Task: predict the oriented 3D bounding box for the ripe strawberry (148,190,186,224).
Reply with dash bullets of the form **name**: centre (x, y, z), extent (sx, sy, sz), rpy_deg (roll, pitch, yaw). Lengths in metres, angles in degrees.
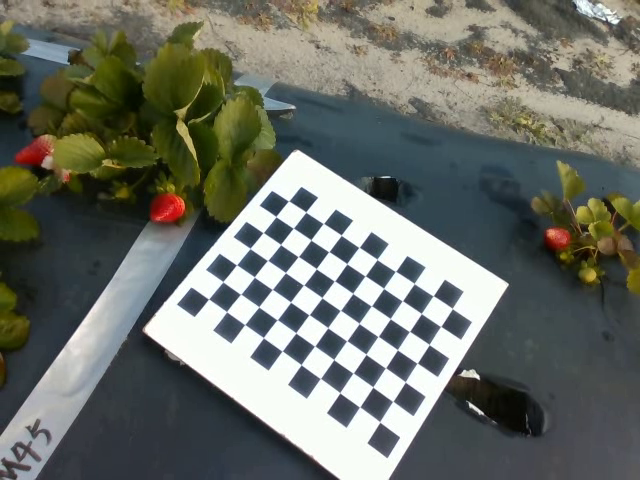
- **ripe strawberry**: centre (-0.161, -0.031, 0.642), extent (0.050, 0.055, 0.036), rpy_deg (31, -41, 2)
